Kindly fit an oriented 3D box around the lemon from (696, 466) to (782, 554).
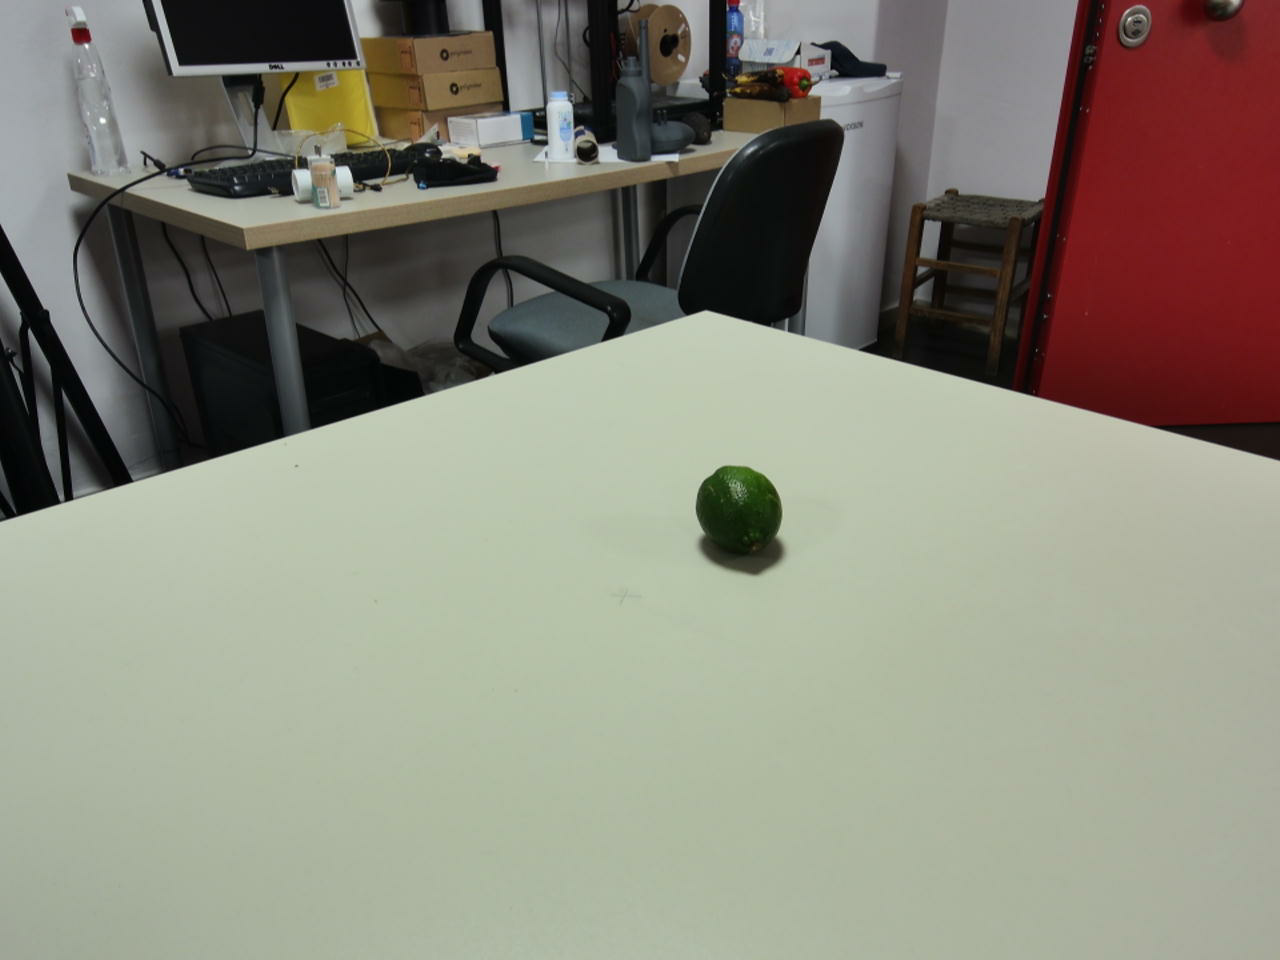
[{"bbox_3d":[0.061,0.018,0.617,0.057,0.051,0.054,22,32,39],"label":"lemon"}]
